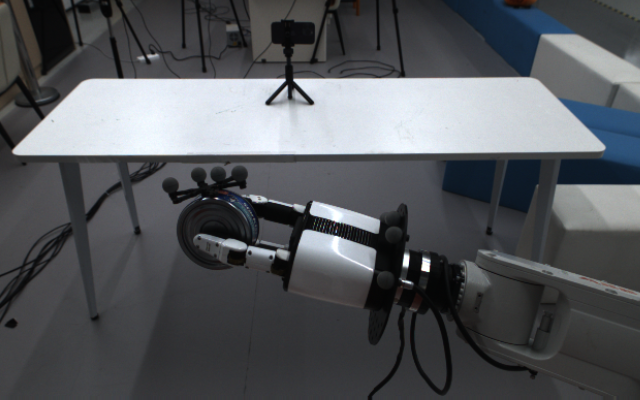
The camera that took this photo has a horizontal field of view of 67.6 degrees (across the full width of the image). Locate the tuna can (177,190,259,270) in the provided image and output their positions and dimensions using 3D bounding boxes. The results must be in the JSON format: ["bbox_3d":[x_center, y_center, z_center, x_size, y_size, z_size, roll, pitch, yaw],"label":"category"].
[{"bbox_3d":[-0.109,0.039,0.532,0.085,0.085,0.034,6,18,5],"label":"tuna can"}]
